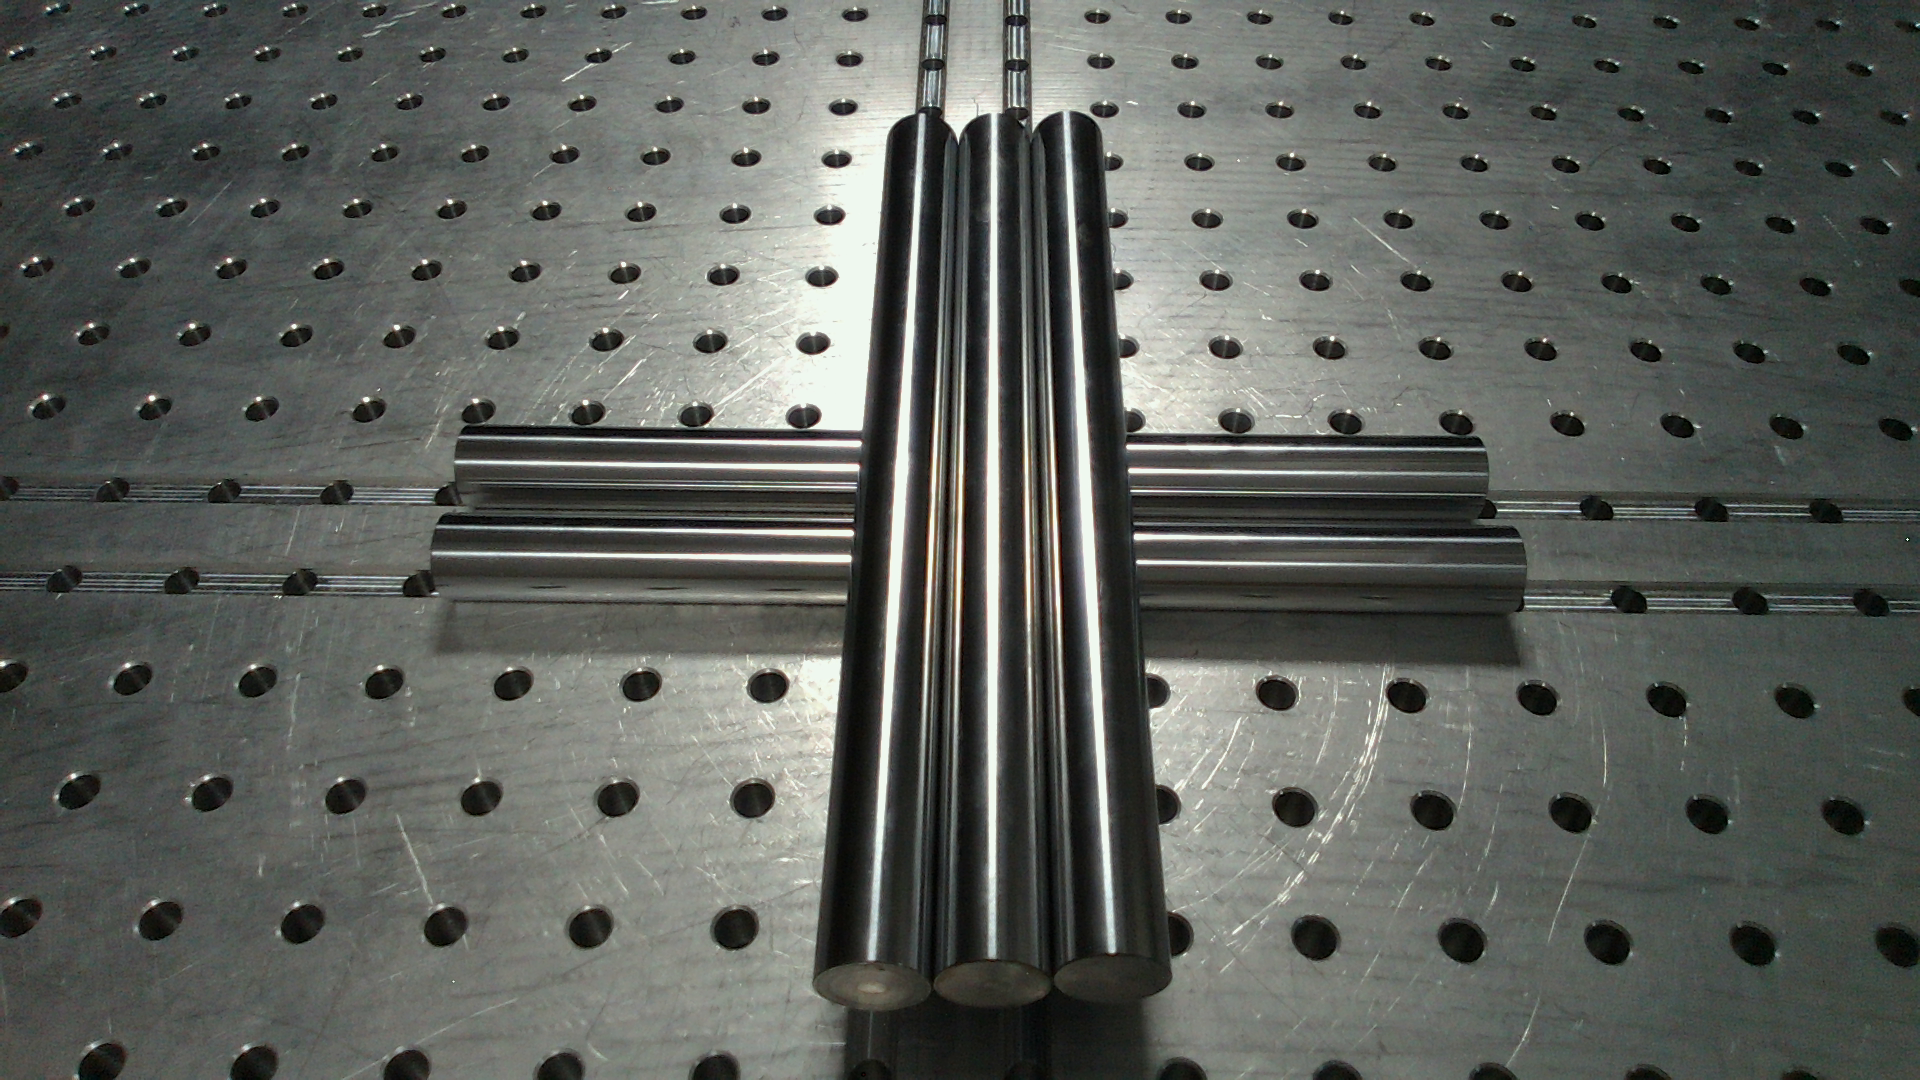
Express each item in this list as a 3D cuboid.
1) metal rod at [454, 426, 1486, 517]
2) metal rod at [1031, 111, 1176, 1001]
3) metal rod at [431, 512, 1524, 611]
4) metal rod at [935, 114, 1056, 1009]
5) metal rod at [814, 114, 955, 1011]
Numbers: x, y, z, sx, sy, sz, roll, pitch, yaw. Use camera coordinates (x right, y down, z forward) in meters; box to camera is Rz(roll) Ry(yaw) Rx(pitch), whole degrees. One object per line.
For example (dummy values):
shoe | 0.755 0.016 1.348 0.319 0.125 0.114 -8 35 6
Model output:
metal rod | 0.003 -0.021 0.412 0.300 0.025 0.025 1 50 0
metal rod | 0.034 -0.024 0.382 0.025 0.025 0.300 0 50 1
metal rod | 0.005 0.006 0.390 0.300 0.025 0.025 1 50 0
metal rod | 0.009 -0.022 0.381 0.025 0.025 0.300 0 50 1
metal rod | -0.016 -0.022 0.381 0.025 0.025 0.300 0 50 1
